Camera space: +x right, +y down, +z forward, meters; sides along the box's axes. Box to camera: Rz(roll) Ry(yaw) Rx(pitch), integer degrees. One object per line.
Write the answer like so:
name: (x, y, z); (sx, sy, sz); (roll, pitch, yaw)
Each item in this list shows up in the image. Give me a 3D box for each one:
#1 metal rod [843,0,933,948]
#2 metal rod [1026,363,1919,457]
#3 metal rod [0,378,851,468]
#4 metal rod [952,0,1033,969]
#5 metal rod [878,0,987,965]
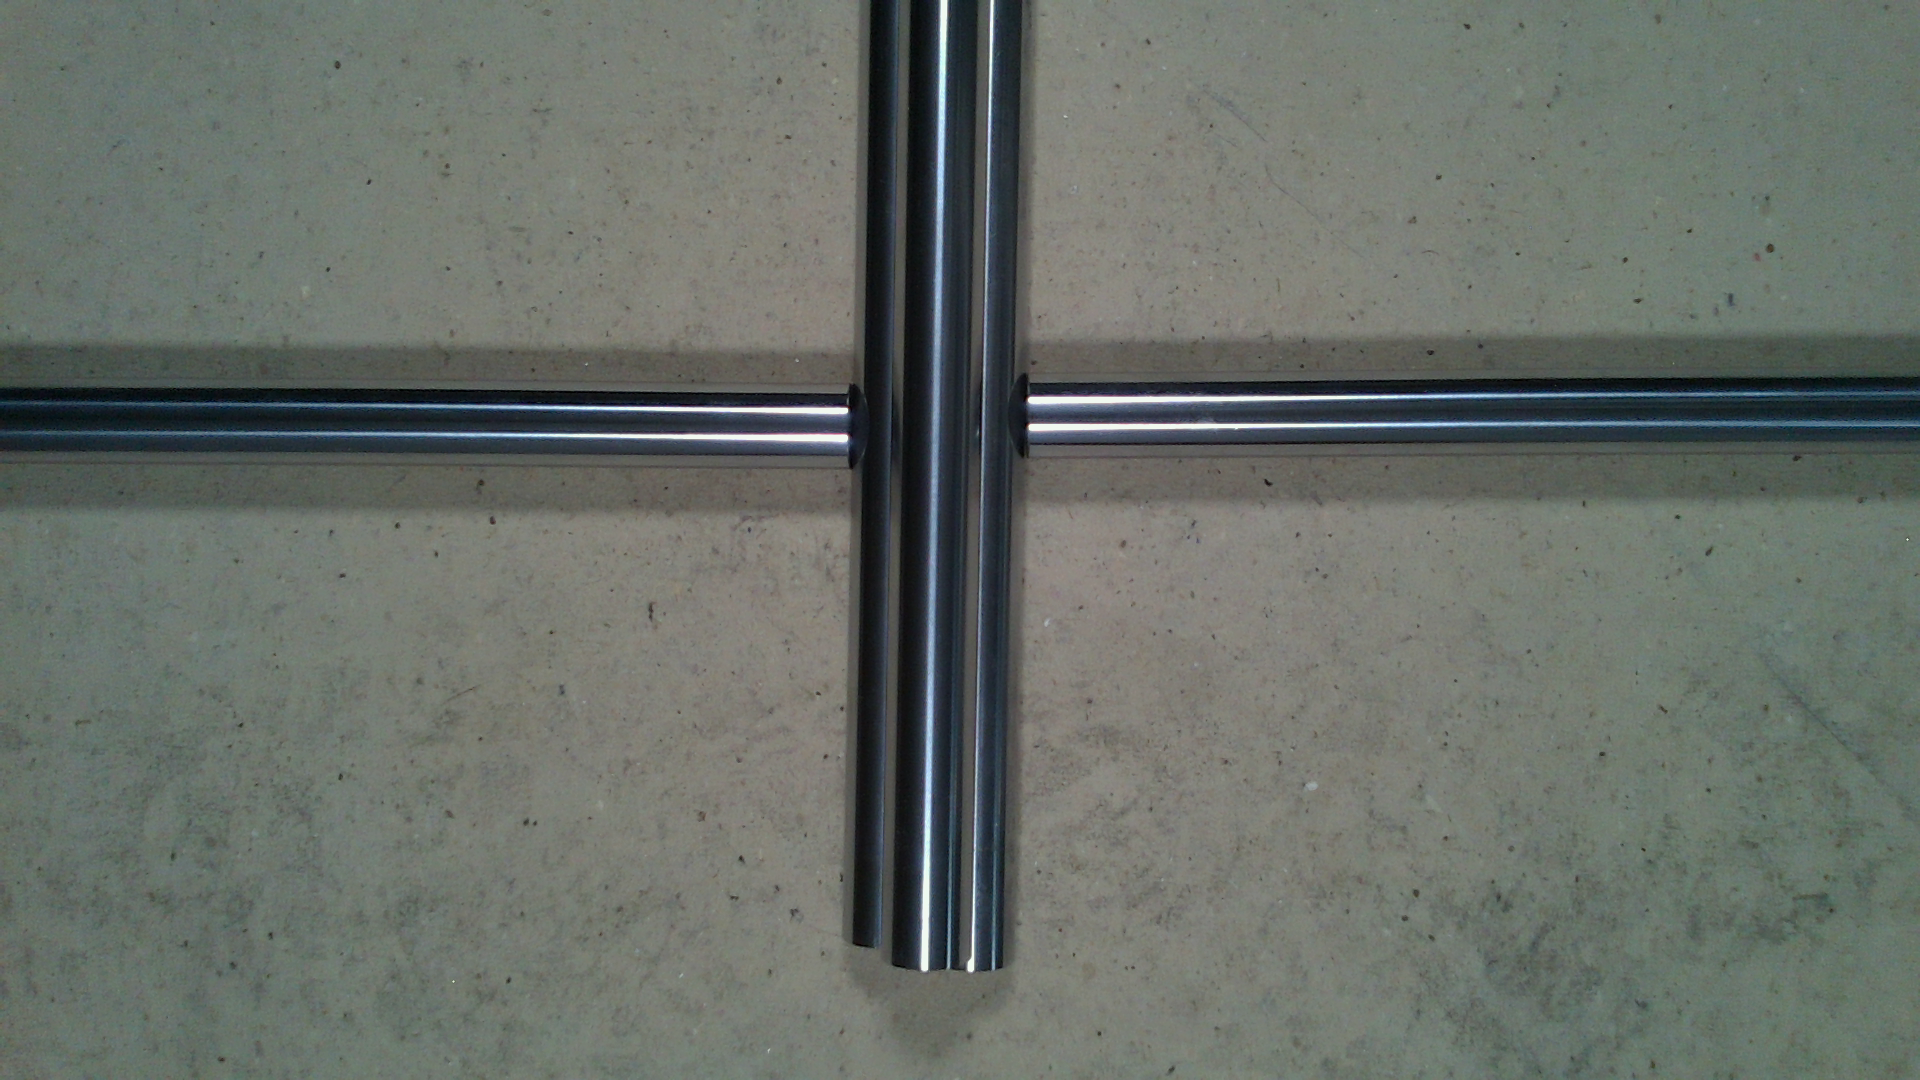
metal rod: (-0.019, -0.036, 0.396); (0.025, 0.025, 0.300); (1, 90, 0)
metal rod: (0.169, -0.038, 0.396); (0.300, 0.025, 0.025); (-1, 90, 0)
metal rod: (-0.181, -0.034, 0.394); (0.300, 0.025, 0.025); (0, 90, 0)
metal rod: (0.006, -0.030, 0.396); (0.025, 0.025, 0.300); (1, 90, 0)
metal rod: (-0.007, -0.038, 0.375); (0.025, 0.025, 0.300); (1, 90, 0)
